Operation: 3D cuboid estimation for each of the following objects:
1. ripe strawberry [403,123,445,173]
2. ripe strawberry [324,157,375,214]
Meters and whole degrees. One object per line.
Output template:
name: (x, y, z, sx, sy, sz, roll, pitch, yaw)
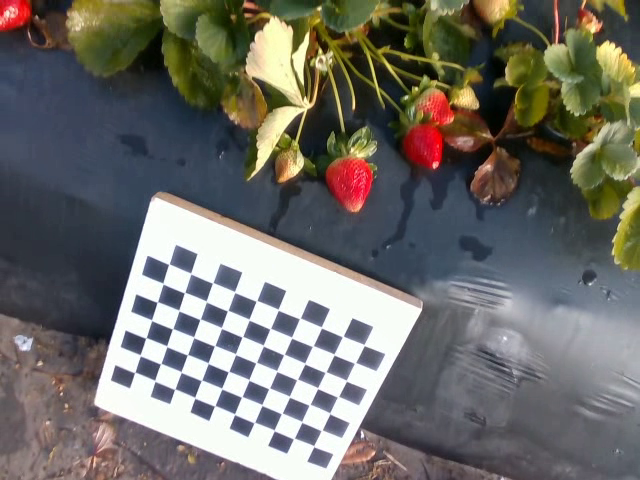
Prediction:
ripe strawberry: (0.105, -0.089, 0.595, 0.044, 0.055, 0.041, -38, -39, 20)
ripe strawberry: (0.029, -0.054, 0.576, 0.050, 0.065, 0.050, -14, -37, 15)
